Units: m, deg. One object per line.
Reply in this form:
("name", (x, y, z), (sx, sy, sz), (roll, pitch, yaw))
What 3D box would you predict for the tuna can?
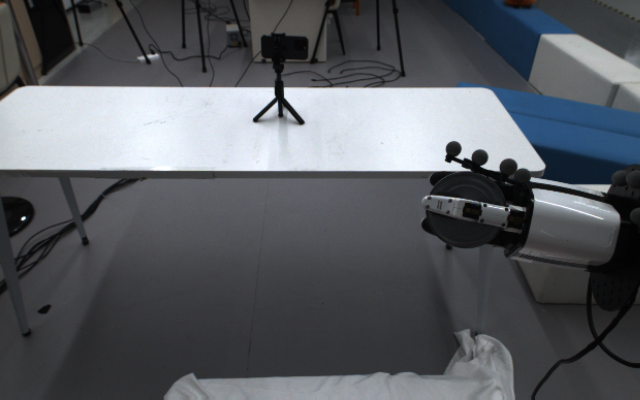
("tuna can", (0.167, 0.009, 0.550), (0.085, 0.085, 0.034), (13, 1, 16))
